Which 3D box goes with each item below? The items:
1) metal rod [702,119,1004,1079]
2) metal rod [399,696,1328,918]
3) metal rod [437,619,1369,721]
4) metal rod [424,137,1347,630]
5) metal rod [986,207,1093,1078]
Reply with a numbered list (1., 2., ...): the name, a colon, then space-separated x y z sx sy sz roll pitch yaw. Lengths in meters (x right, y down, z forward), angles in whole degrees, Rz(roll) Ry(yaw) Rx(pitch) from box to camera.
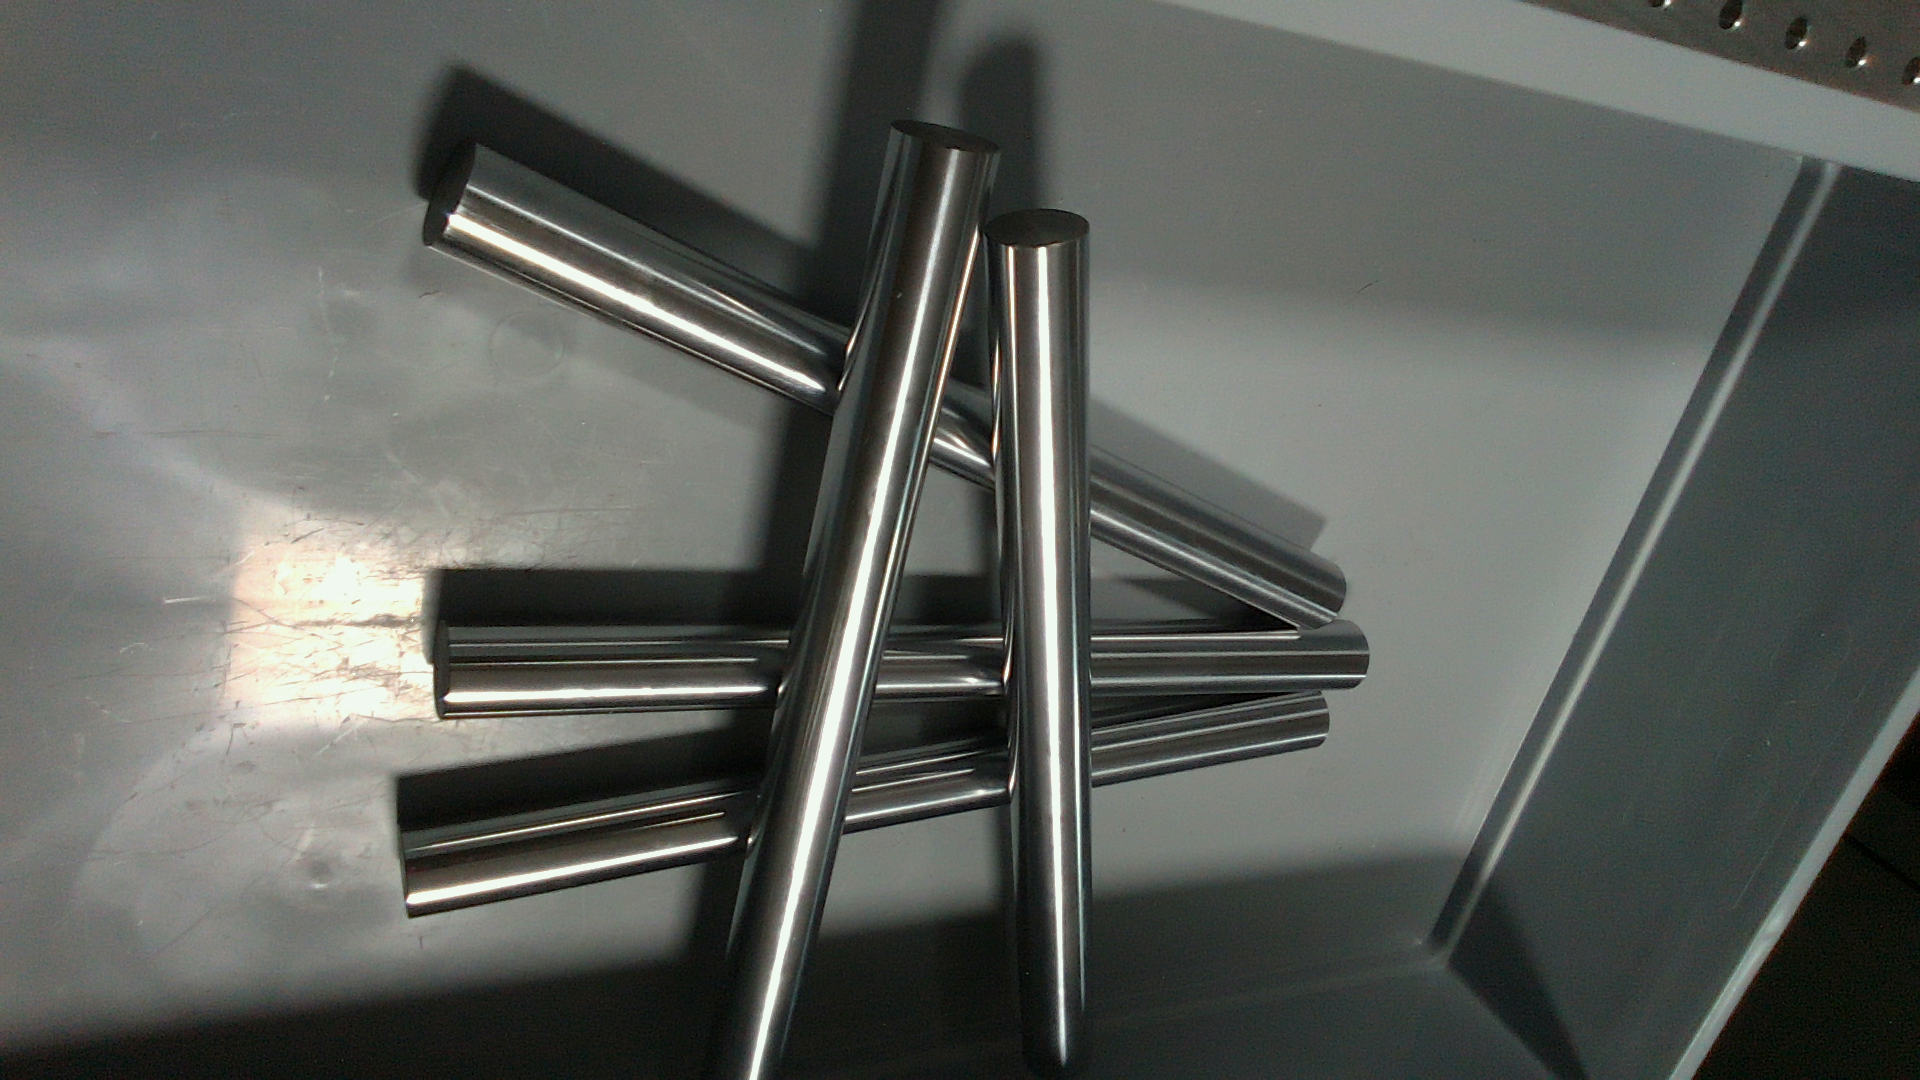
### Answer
1. metal rod: -0.036 0.044 0.362 0.025 0.025 0.300 0 118 -28
2. metal rod: -0.011 0.074 0.427 0.301 0.025 0.025 -5 121 -26
3. metal rod: 0.004 0.036 0.411 0.301 0.025 0.025 2 118 -29
4. metal rod: 0.007 -0.027 0.374 0.301 0.025 0.025 22 107 -36
5. metal rod: 0.026 0.052 0.402 0.025 0.025 0.300 -16 125 -19
